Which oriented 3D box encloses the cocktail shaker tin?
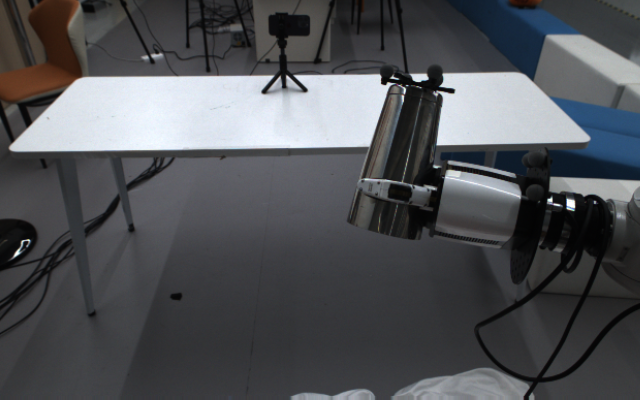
[{"bbox_3d":[0.097,-0.046,0.585,0.093,0.170,0.093,13,4,-1],"label":"cocktail shaker tin"}]
